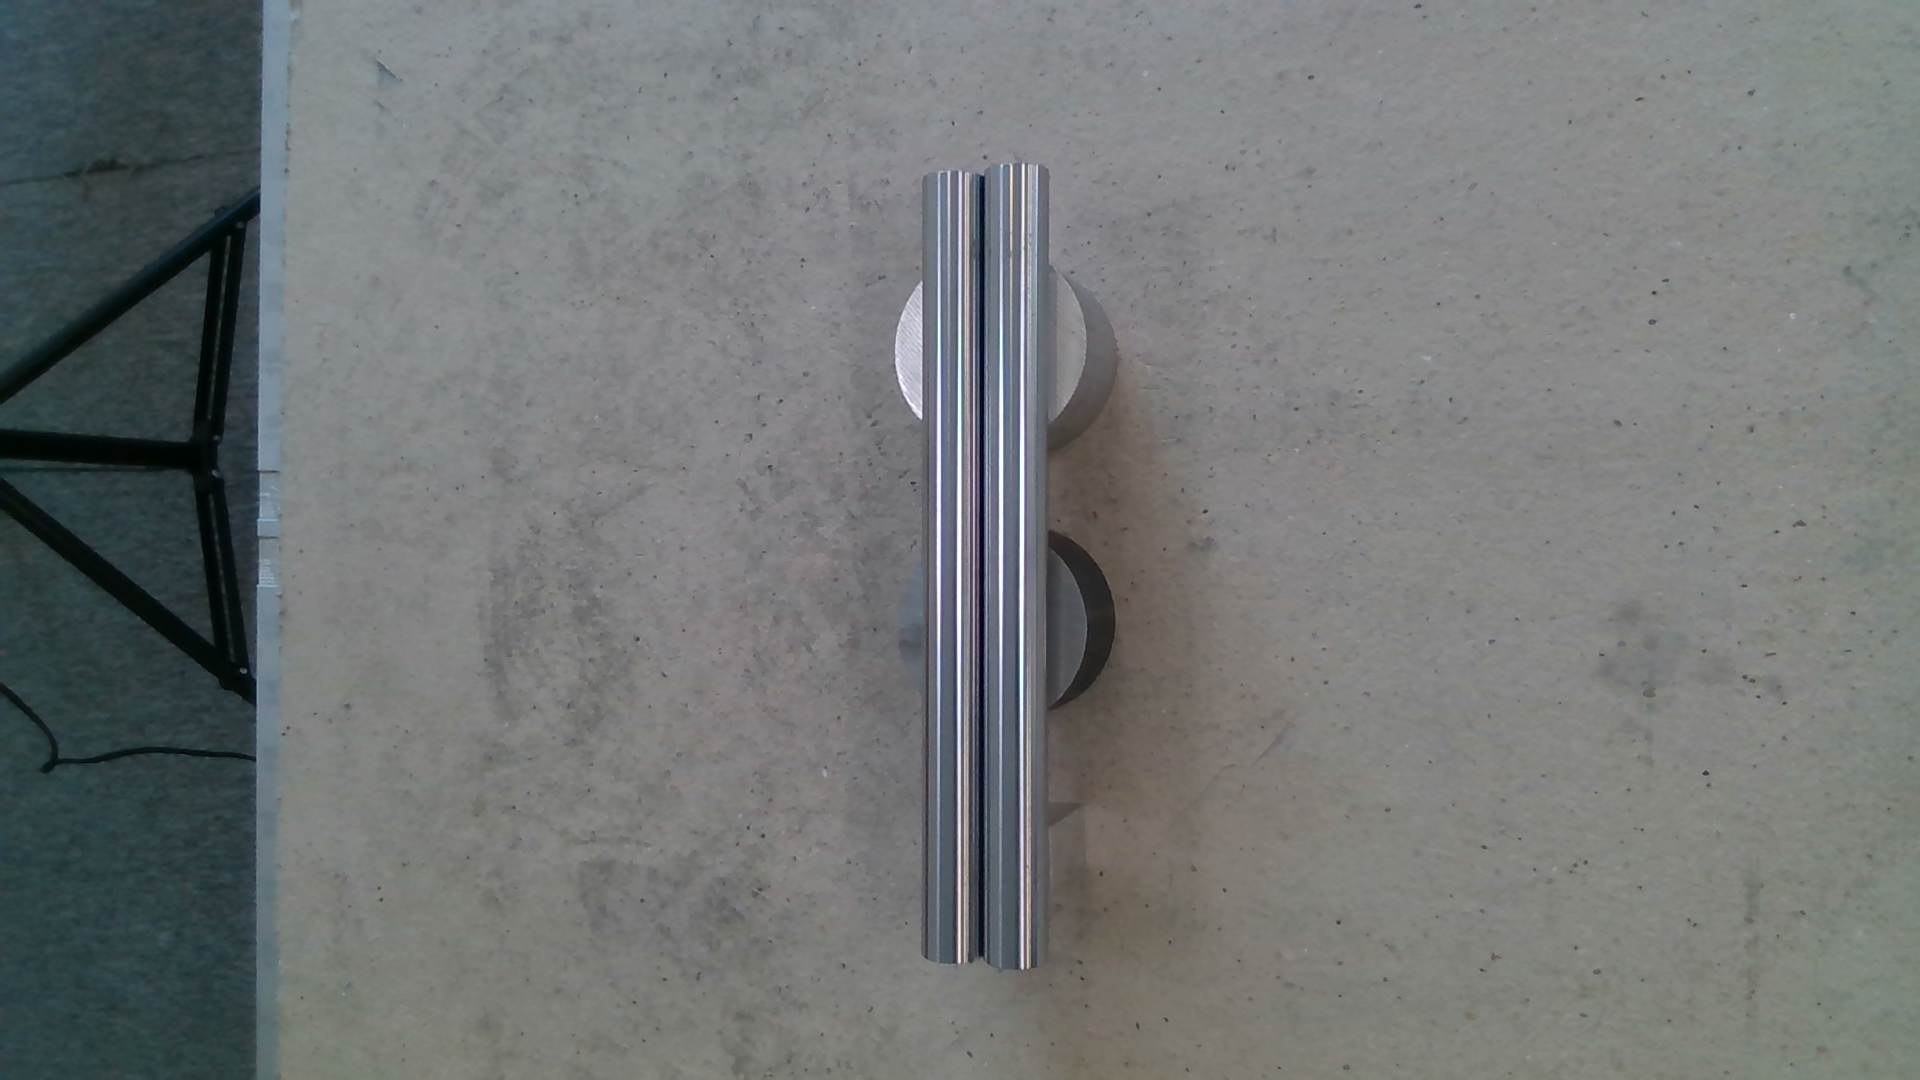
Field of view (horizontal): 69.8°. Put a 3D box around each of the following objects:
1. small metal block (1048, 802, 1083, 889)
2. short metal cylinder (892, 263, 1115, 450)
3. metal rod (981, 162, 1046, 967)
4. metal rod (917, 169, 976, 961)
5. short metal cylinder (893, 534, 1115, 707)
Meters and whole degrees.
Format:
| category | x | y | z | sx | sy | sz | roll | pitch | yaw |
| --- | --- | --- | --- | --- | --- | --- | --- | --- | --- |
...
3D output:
| category | x | y | z | sx | sy | sz | roll | pitch | yaw |
| --- | --- | --- | --- | --- | --- | --- | --- | --- | --- |
| small metal block | 0.021 | 0.124 | 0.568 | 0.050 | 0.050 | 0.025 | -2 | 90 | 20 |
| short metal cylinder | 0.019 | -0.076 | 0.564 | 0.080 | 0.050 | 0.080 | 0 | 91 | 20 |
| metal rod | 0.021 | 0.010 | 0.525 | 0.025 | 0.025 | 0.300 | 0 | 91 | 20 |
| metal rod | -0.004 | 0.010 | 0.534 | 0.025 | 0.025 | 0.300 | 0 | 91 | 20 |
| short metal cylinder | 0.019 | 0.034 | 0.567 | 0.080 | 0.050 | 0.080 | 0 | 91 | 20 |
